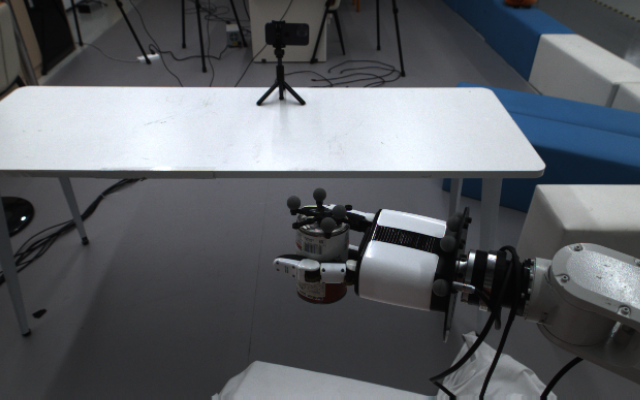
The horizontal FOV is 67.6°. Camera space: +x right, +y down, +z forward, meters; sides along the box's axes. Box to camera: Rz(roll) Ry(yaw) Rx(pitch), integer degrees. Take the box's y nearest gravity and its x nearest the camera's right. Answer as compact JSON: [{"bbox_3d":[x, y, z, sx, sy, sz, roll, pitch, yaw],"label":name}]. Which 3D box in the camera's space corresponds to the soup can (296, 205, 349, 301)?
[{"bbox_3d":[0.005,0.071,0.610,0.067,0.101,0.067,1,25,0],"label":"soup can"}]
